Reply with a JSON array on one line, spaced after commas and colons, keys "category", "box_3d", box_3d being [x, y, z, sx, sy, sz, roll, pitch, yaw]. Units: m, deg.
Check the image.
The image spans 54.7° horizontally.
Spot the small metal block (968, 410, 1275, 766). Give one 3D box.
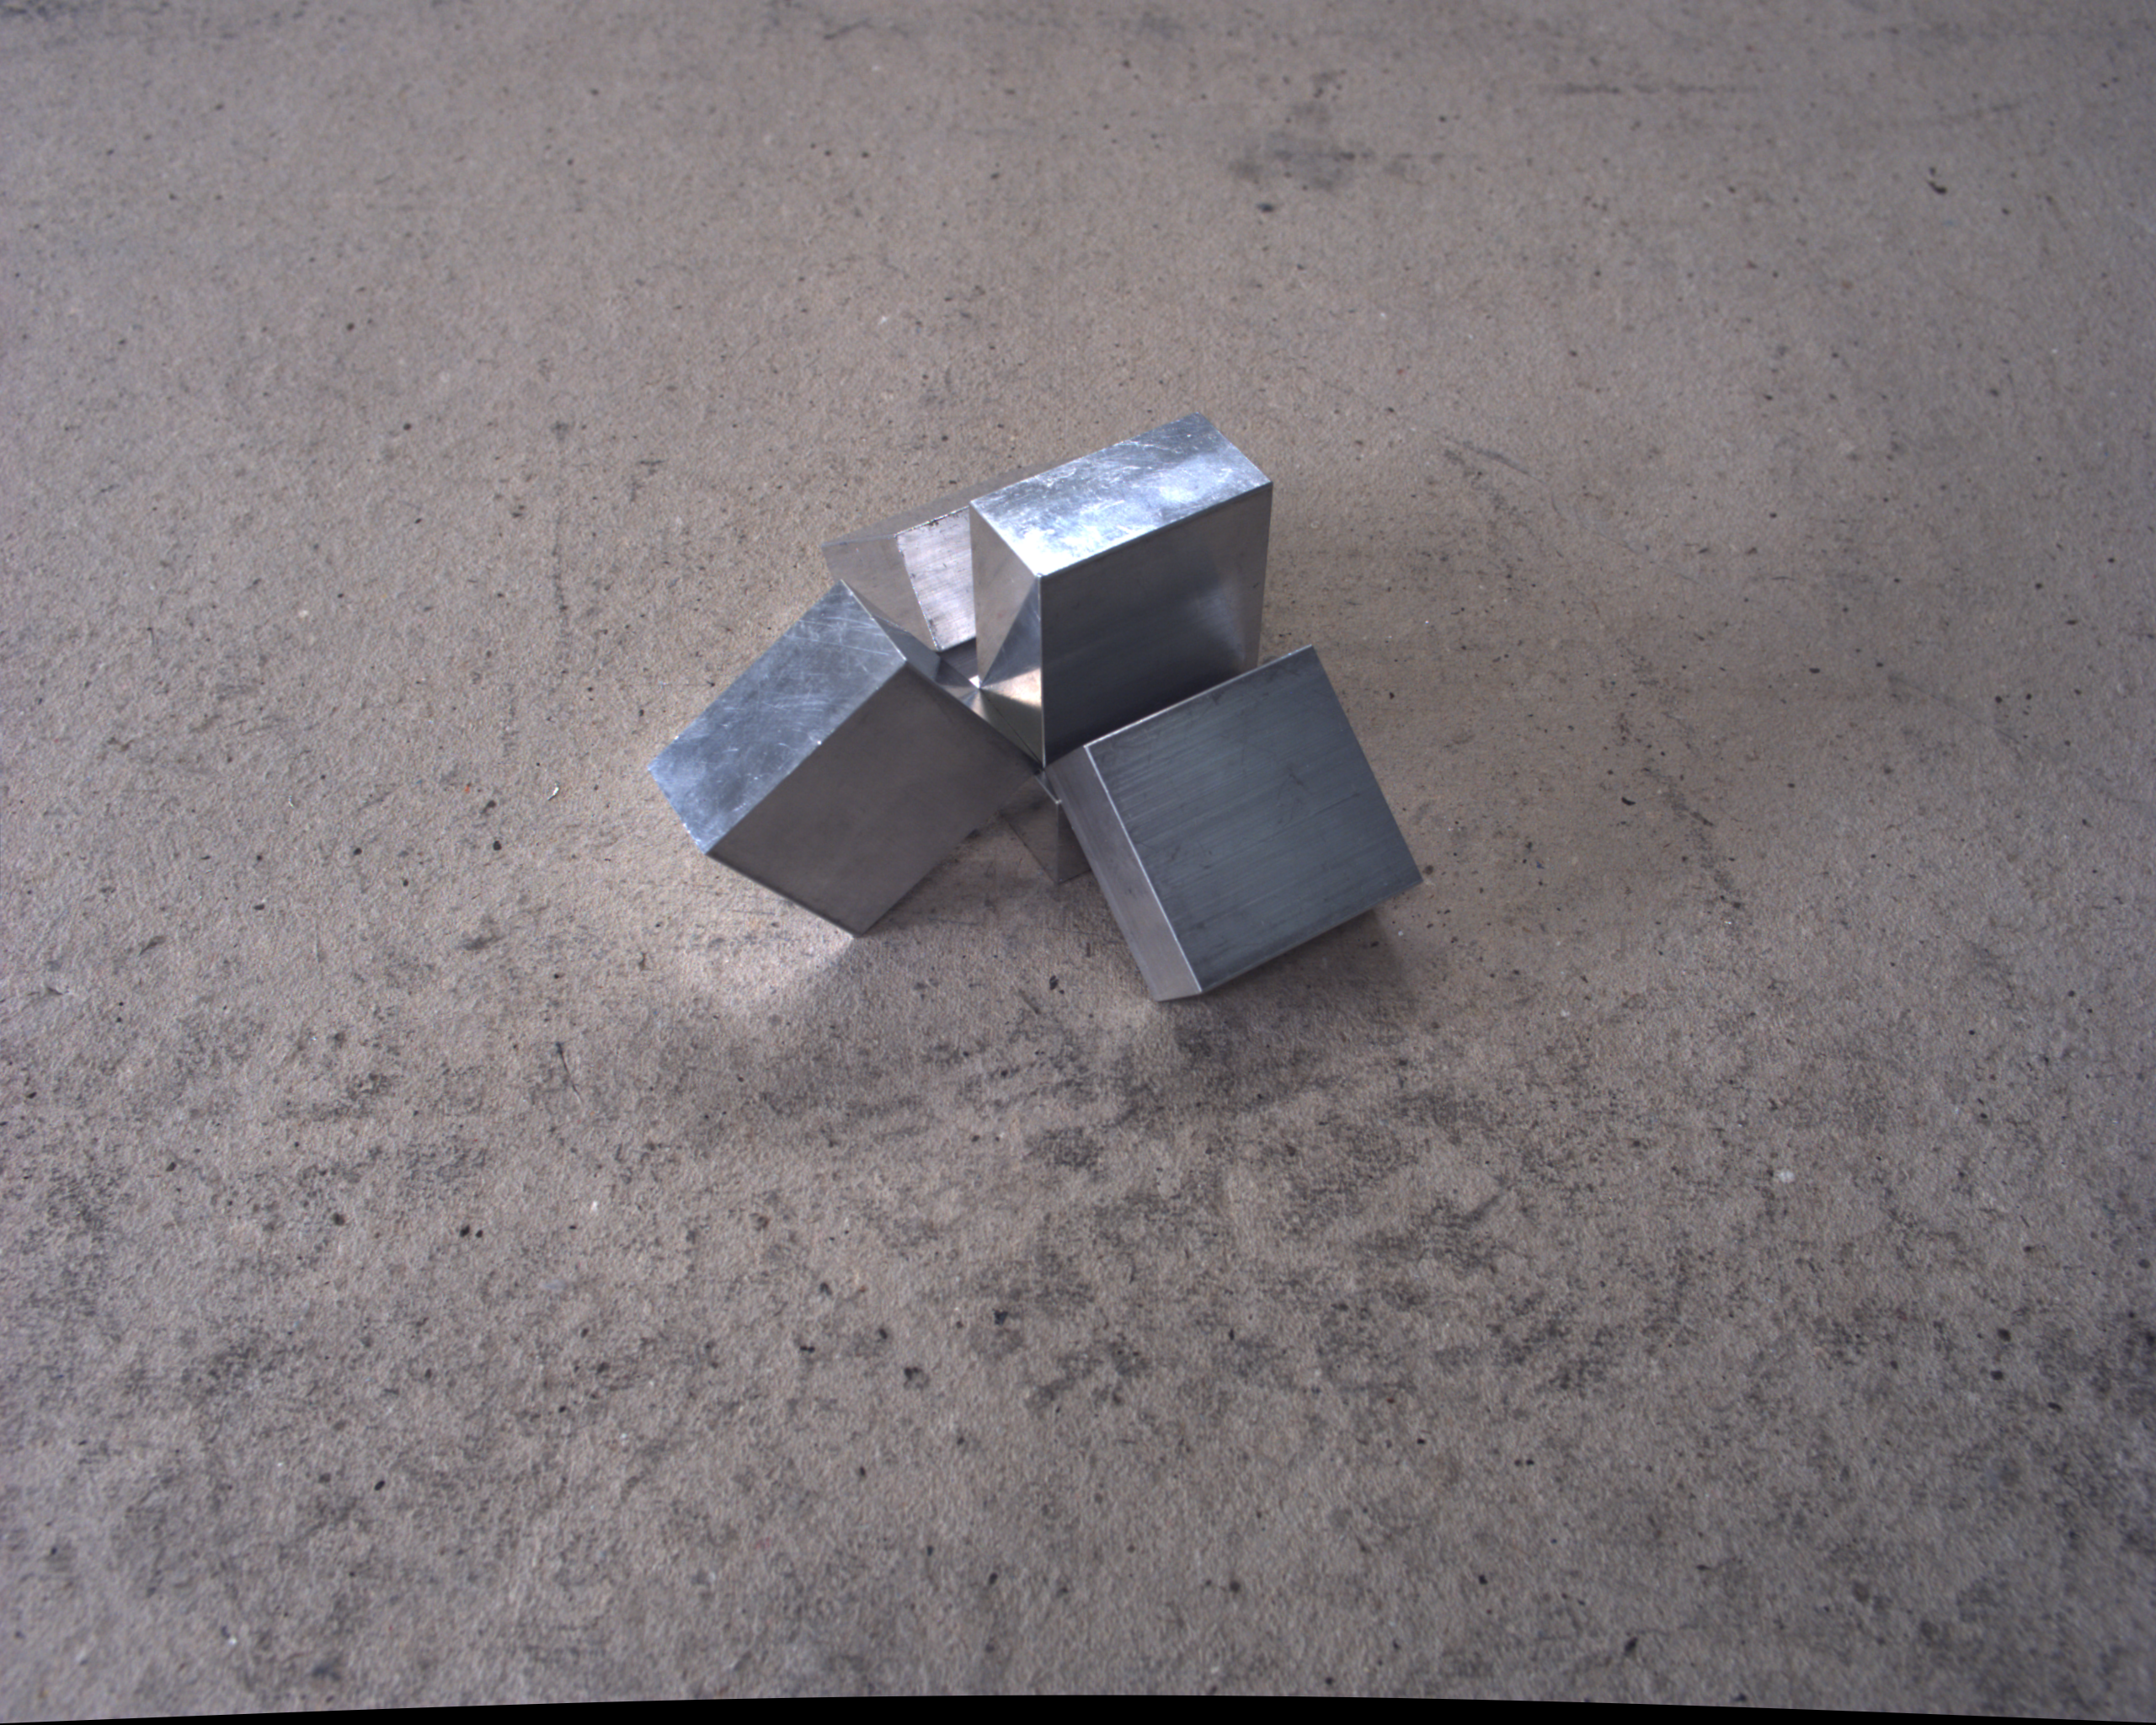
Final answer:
[{"category": "small metal block", "box_3d": [0.008, -0.052, 0.400, 0.050, 0.050, 0.025, -26, 55, -20]}]

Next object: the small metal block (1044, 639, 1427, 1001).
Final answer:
[{"category": "small metal block", "box_3d": [0.030, -0.008, 0.395, 0.050, 0.025, 0.050, -26, 91, -20]}]

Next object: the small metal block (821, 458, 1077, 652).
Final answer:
[{"category": "small metal block", "box_3d": [-0.020, -0.065, 0.443, 0.050, 0.025, 0.050, -25, 15, -19]}]

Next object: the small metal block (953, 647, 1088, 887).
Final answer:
[{"category": "small metal block", "box_3d": [0.004, -0.030, 0.430, 0.050, 0.025, 0.050, -27, 55, -18]}]

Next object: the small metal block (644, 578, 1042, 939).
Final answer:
[{"category": "small metal block", "box_3d": [-0.043, -0.018, 0.391, 0.050, 0.050, 0.025, -43, 57, 8]}]
